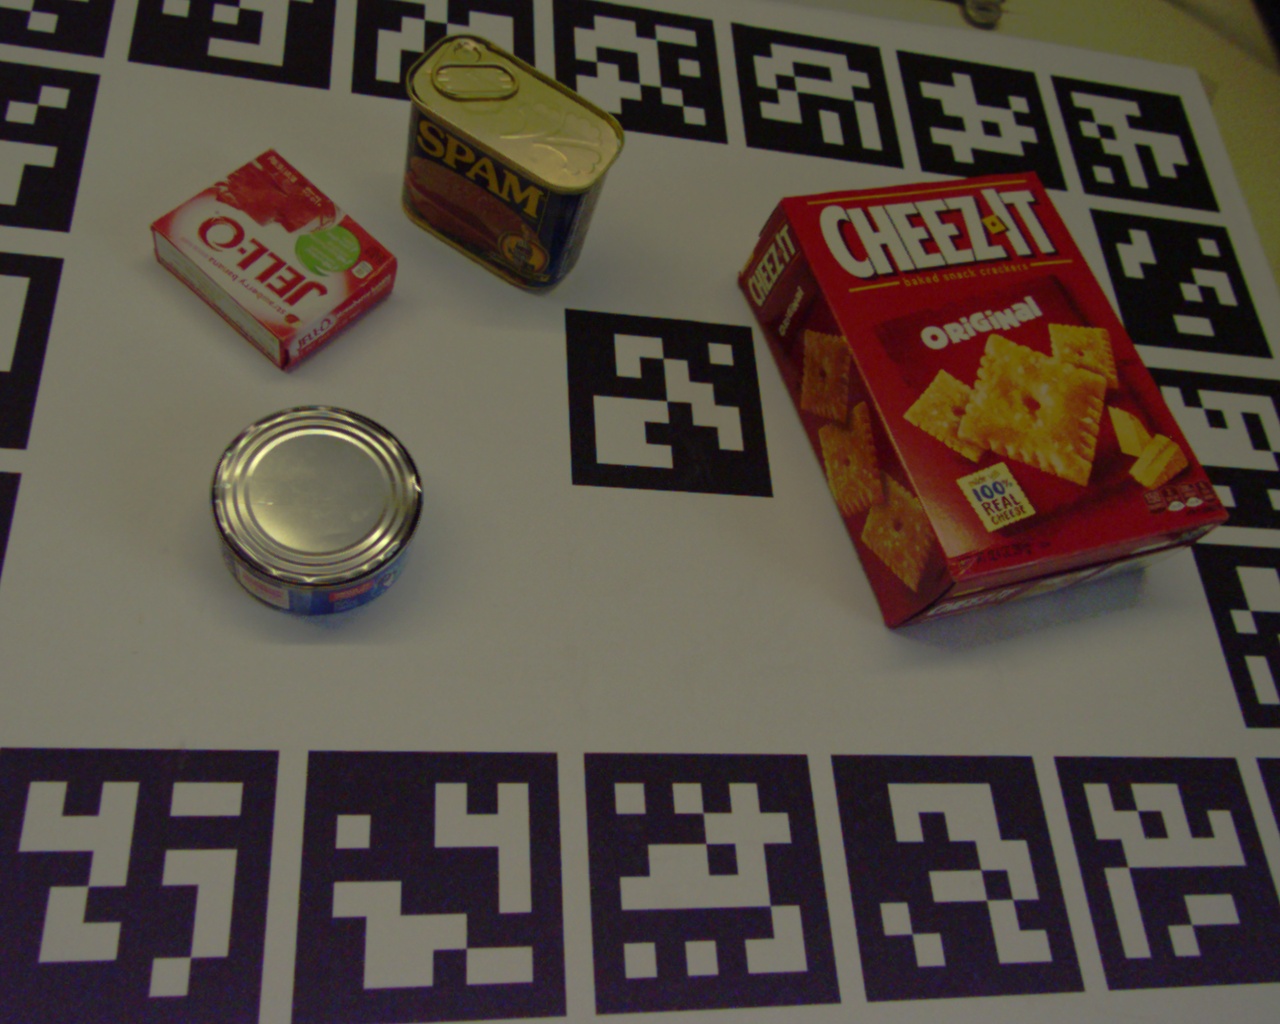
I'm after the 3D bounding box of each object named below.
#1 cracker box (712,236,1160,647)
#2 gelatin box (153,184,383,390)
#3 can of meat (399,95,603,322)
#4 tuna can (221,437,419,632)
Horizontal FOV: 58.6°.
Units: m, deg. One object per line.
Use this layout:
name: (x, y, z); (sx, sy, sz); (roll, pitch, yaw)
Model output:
cracker box: (0.159, -0.050, 0.631); (0.162, 0.072, 0.215); (-12, 65, -23)
gelatin box: (-0.189, -0.117, 0.584); (0.089, 0.030, 0.073); (41, 57, 4)
can of meat: (-0.080, -0.160, 0.616); (0.102, 0.084, 0.057); (30, 58, 1)
tuna can: (-0.146, 0.011, 0.523); (0.085, 0.034, 0.086); (5, 65, -13)
